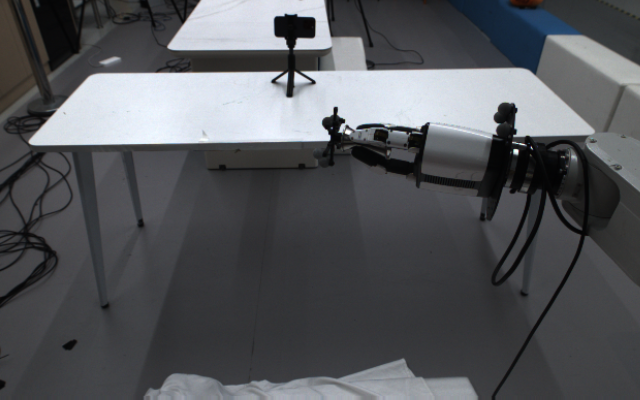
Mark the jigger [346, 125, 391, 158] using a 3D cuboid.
[{"bbox_3d":[0.074,-0.089,0.701,0.071,0.043,0.043,10,35,16],"label":"jigger"}]
